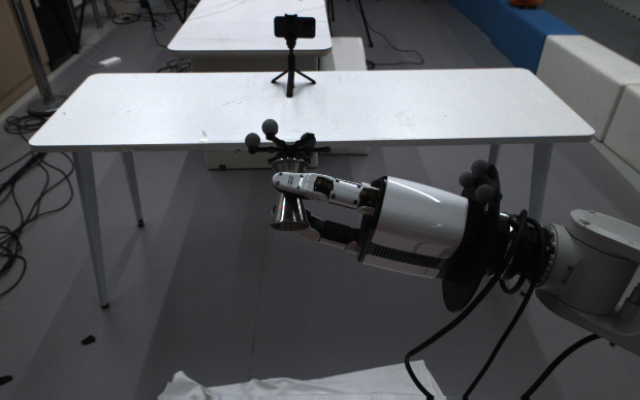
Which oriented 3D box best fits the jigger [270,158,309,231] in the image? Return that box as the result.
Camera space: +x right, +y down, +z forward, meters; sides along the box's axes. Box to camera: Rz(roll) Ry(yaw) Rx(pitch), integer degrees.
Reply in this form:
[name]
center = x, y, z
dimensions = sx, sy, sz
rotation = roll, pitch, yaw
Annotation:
[jigger]
center = -0.030, -0.006, 0.507
dimensions = 0.043, 0.043, 0.071
rotation = 0, 75, -3
